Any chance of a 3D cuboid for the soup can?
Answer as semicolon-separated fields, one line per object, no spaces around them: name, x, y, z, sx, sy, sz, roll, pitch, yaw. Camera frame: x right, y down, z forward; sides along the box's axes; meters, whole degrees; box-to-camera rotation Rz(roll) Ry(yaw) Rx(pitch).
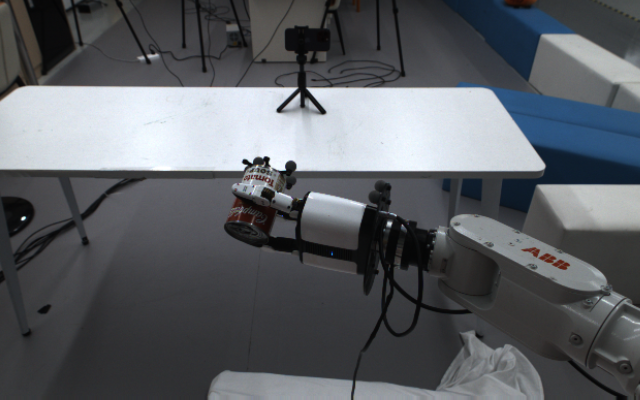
soup can;-0.094;0.007;0.721;0.067;0.067;0.101;9;60;10
